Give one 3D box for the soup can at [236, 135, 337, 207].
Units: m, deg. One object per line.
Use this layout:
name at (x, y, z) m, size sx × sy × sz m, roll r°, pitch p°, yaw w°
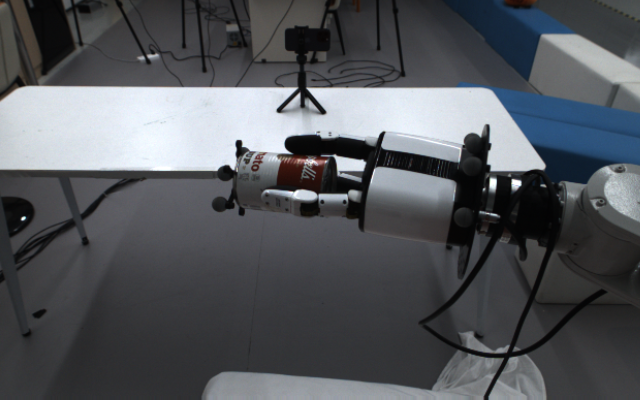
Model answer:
soup can at (-0.035, -0.019, 0.541) m, size 0.101 × 0.067 × 0.067 m, roll 5°, pitch 34°, yaw 13°
